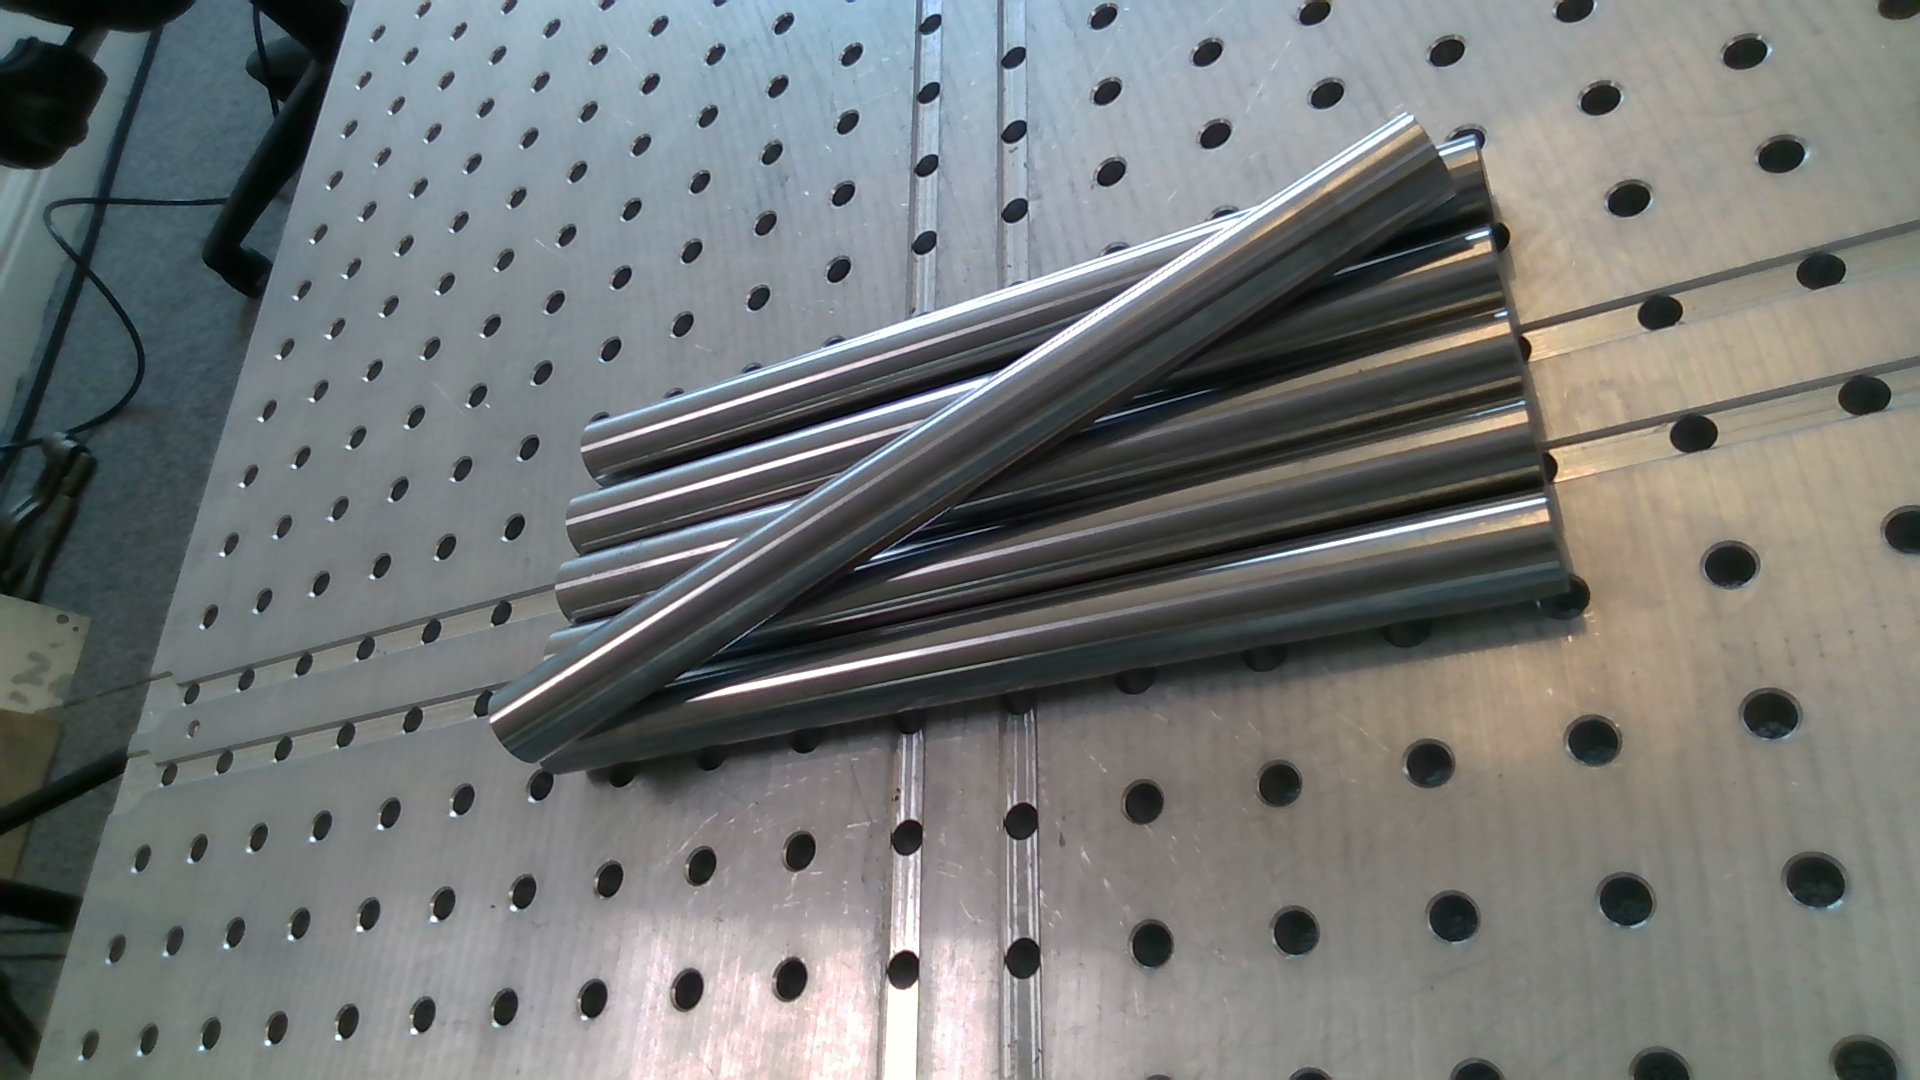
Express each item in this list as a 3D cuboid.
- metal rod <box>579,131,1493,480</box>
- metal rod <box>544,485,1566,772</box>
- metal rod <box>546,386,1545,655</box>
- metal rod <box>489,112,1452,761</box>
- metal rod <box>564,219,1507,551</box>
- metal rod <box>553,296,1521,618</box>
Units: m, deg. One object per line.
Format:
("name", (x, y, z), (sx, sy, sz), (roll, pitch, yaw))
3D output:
("metal rod", (0.005, -0.063, 0.425), (0.300, 0.025, 0.025), (-14, 59, 25))
("metal rod", (0.003, 0.031, 0.378), (0.300, 0.025, 0.025), (-13, 59, 26))
("metal rod", (0.004, 0.008, 0.390), (0.300, 0.025, 0.025), (-14, 59, 25))
("metal rod", (-0.009, -0.020, 0.379), (0.300, 0.025, 0.025), (-31, 53, 14))
("metal rod", (0.004, -0.037, 0.412), (0.300, 0.025, 0.025), (-14, 59, 25))
("metal rod", (0.003, -0.015, 0.401), (0.300, 0.025, 0.025), (-14, 59, 25))
